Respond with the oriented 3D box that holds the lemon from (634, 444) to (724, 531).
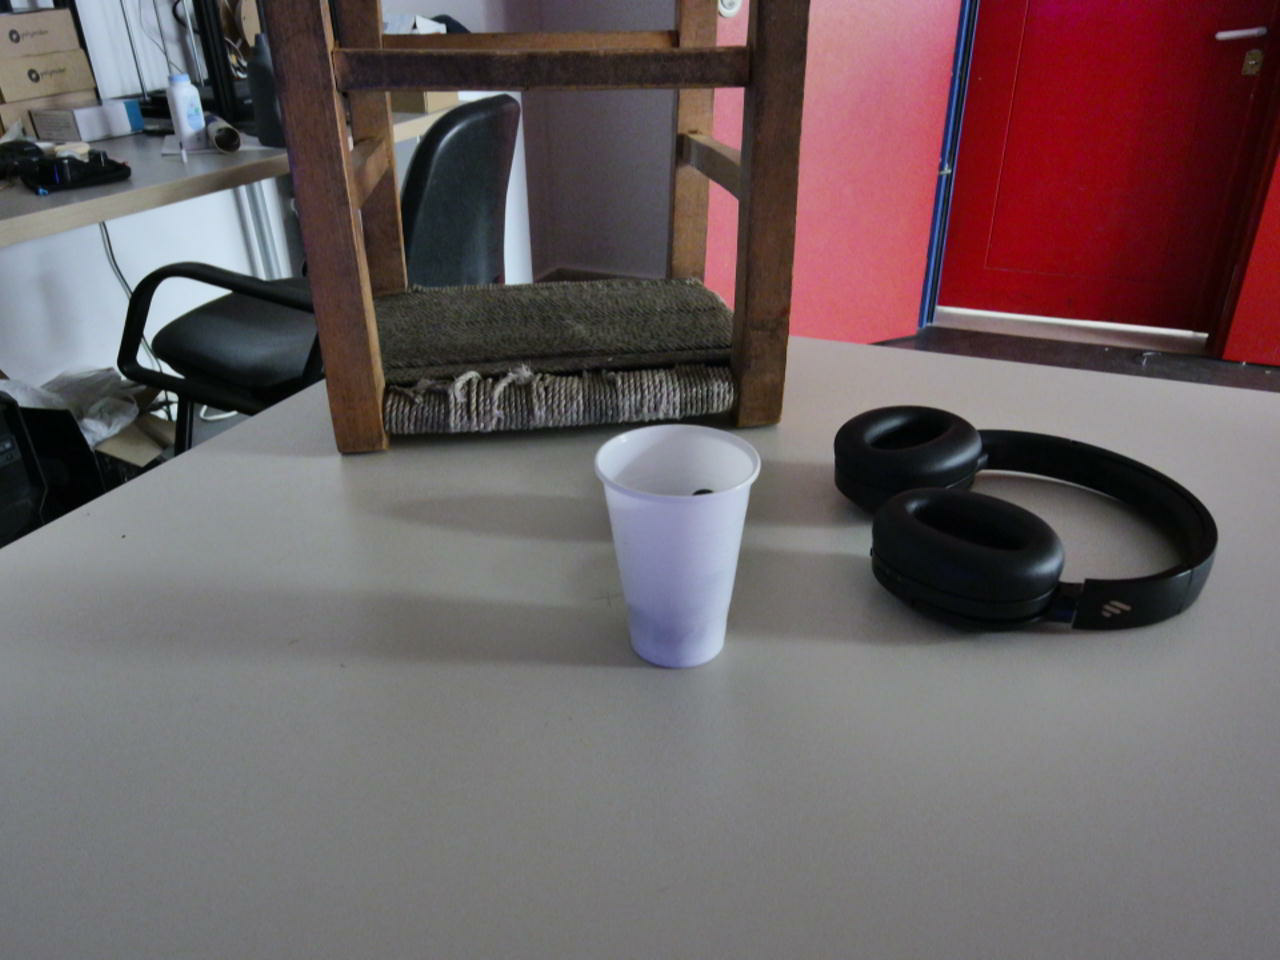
[{"bbox_3d":[0.024,0.004,0.616,0.057,0.051,0.054,8,27,18],"label":"lemon"}]
